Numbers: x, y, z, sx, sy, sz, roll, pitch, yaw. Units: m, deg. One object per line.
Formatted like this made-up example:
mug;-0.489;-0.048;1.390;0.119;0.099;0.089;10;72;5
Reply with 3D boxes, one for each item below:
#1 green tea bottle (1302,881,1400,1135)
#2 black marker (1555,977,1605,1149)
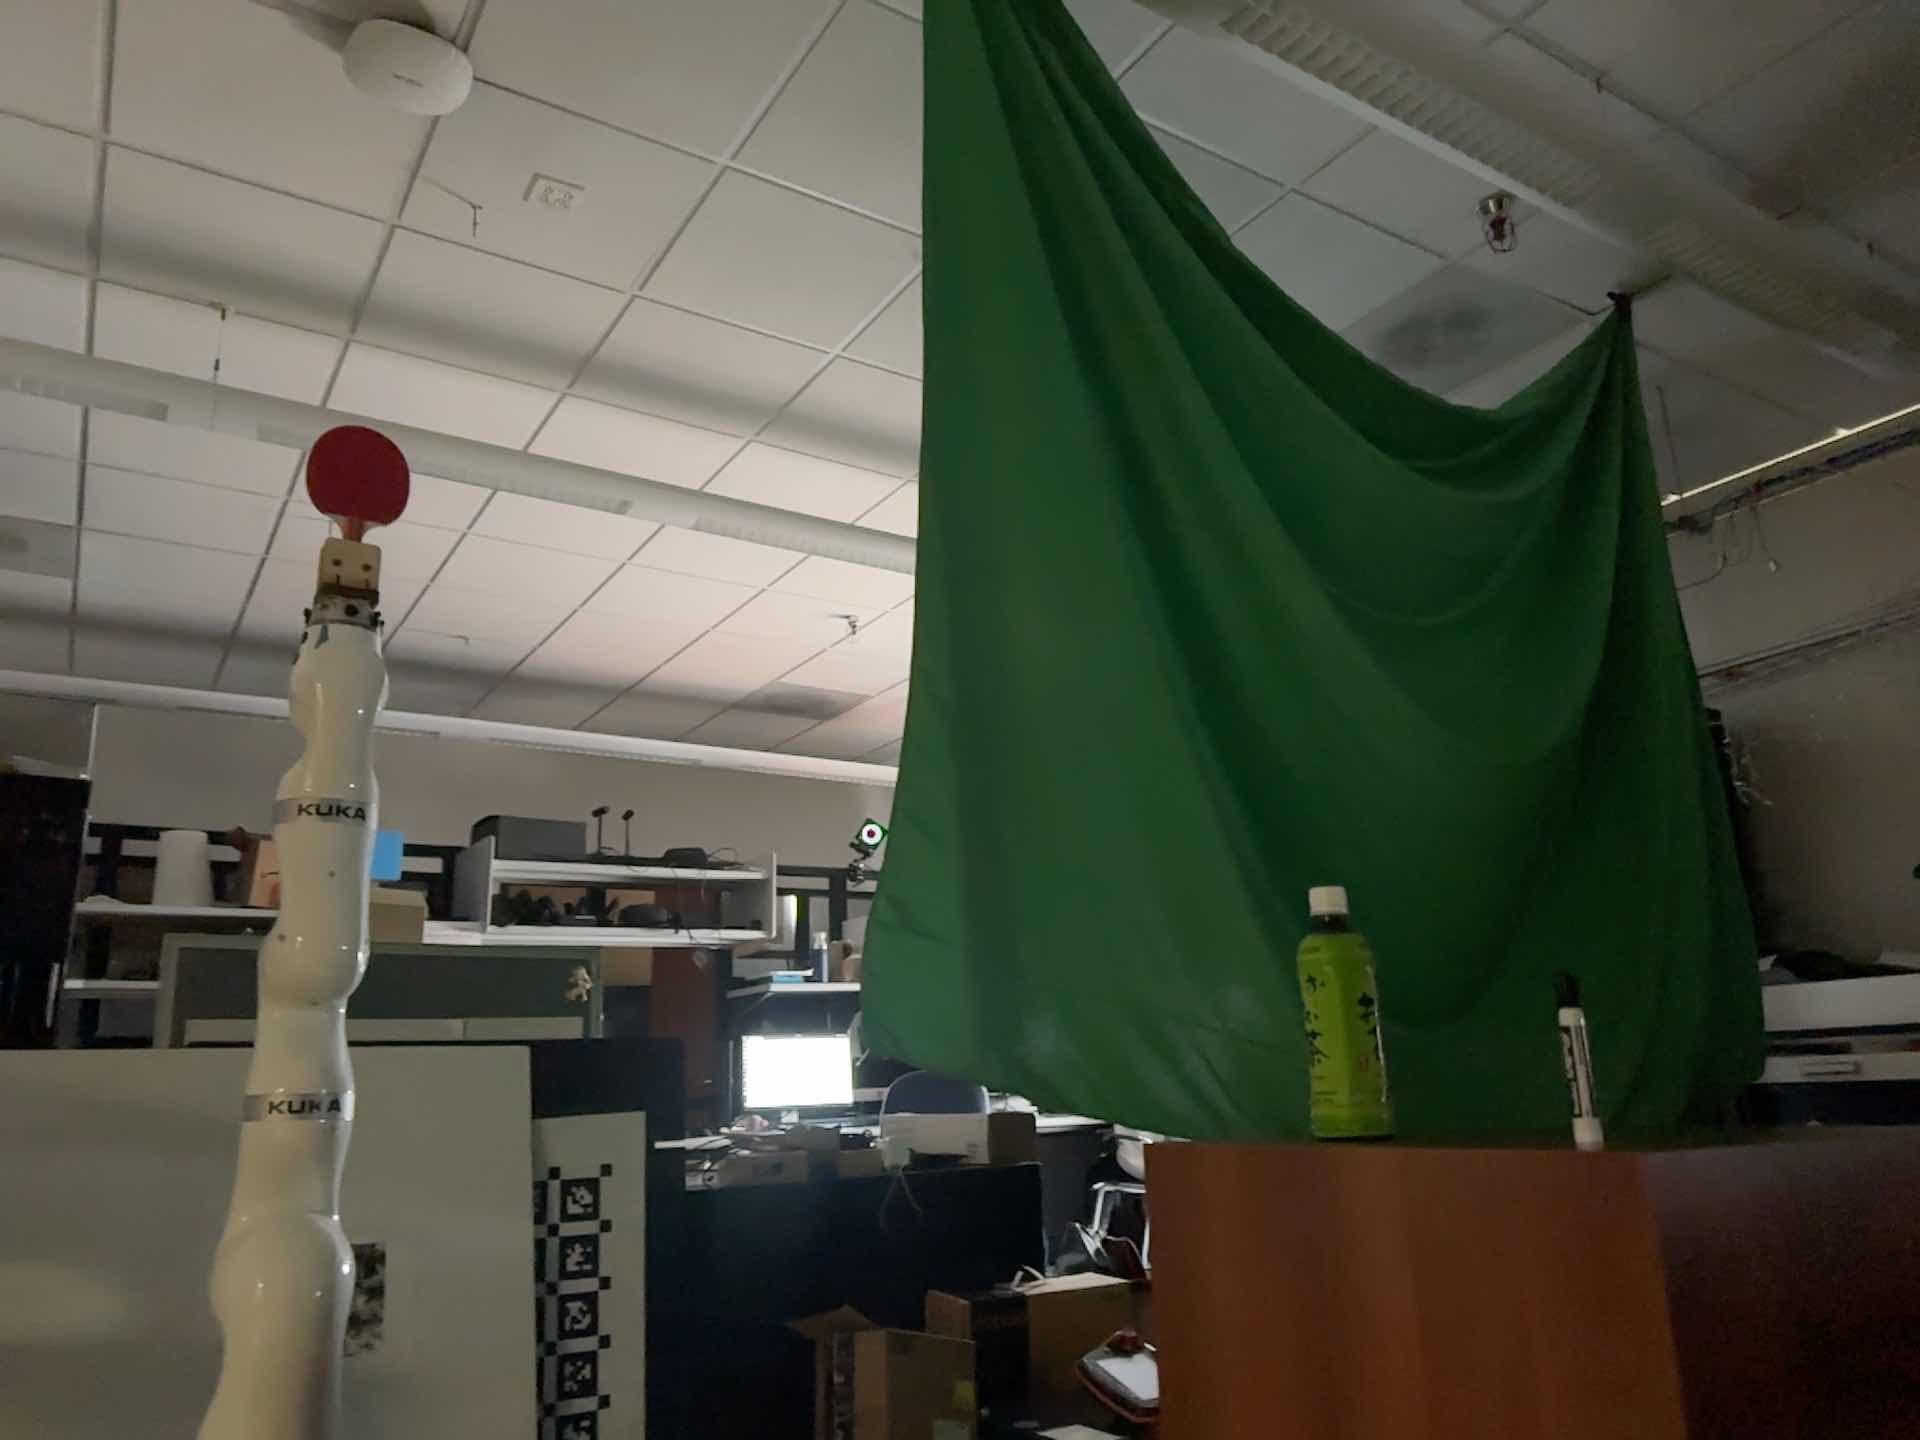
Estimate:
green tea bottle;0.331;0.245;1.155;0.073;0.212;0.073;-3;-16;-1
black marker;0.453;0.250;0.984;0.020;0.121;0.020;-2;-12;0
